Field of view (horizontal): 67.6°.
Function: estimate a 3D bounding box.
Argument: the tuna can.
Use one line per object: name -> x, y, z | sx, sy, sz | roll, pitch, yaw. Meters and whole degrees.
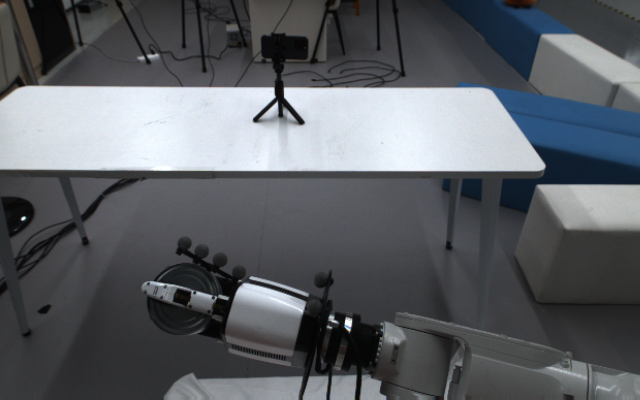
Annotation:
tuna can -> -0.161, 0.121, 0.590 | 0.085, 0.034, 0.085 | 0, 72, 0
